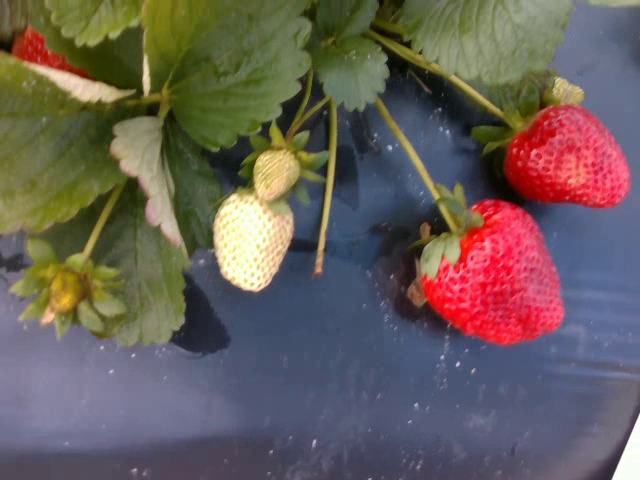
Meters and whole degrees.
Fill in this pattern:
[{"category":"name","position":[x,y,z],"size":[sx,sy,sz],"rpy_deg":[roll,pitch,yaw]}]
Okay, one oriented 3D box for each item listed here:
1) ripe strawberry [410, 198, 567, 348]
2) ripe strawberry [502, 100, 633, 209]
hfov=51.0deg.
[{"category":"ripe strawberry","position":[0.078,0.018,0.274],"size":[0.065,0.059,0.043],"rpy_deg":[44,10,-6]},{"category":"ripe strawberry","position":[0.114,-0.034,0.293],"size":[0.060,0.051,0.051],"rpy_deg":[46,13,26]}]
